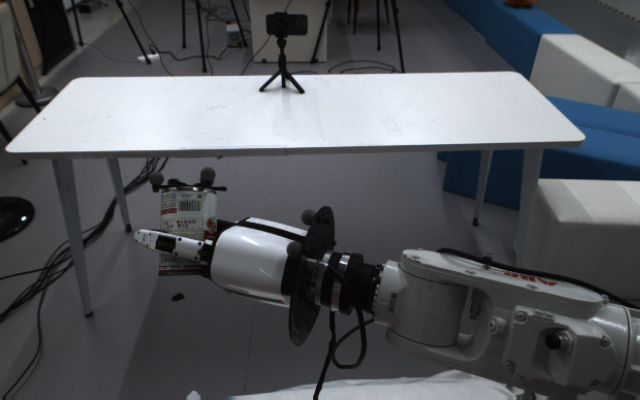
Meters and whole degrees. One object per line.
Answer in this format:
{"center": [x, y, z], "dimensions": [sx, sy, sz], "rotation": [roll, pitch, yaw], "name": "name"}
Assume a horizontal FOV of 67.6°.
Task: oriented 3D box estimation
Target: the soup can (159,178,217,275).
{"center": [-0.157, 0.041, 0.581], "dimensions": [0.067, 0.101, 0.067], "rotation": [-2, -9, 0], "name": "soup can"}
